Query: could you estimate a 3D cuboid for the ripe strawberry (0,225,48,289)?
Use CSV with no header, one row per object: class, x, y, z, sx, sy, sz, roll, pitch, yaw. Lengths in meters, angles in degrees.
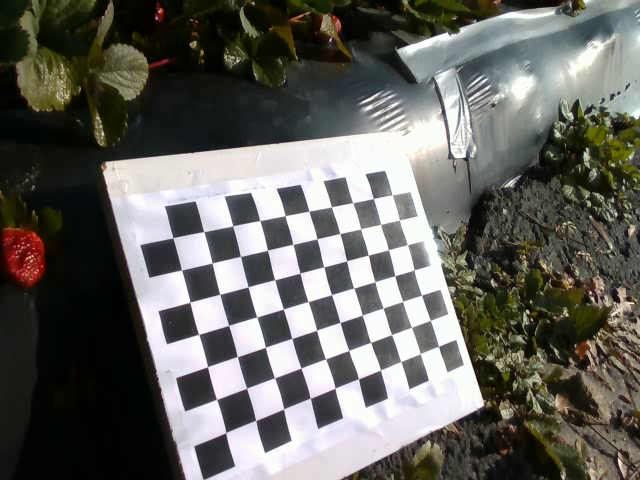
ripe strawberry,-0.068,0.004,0.140,0.015,0.015,0.022,-3,27,-35
